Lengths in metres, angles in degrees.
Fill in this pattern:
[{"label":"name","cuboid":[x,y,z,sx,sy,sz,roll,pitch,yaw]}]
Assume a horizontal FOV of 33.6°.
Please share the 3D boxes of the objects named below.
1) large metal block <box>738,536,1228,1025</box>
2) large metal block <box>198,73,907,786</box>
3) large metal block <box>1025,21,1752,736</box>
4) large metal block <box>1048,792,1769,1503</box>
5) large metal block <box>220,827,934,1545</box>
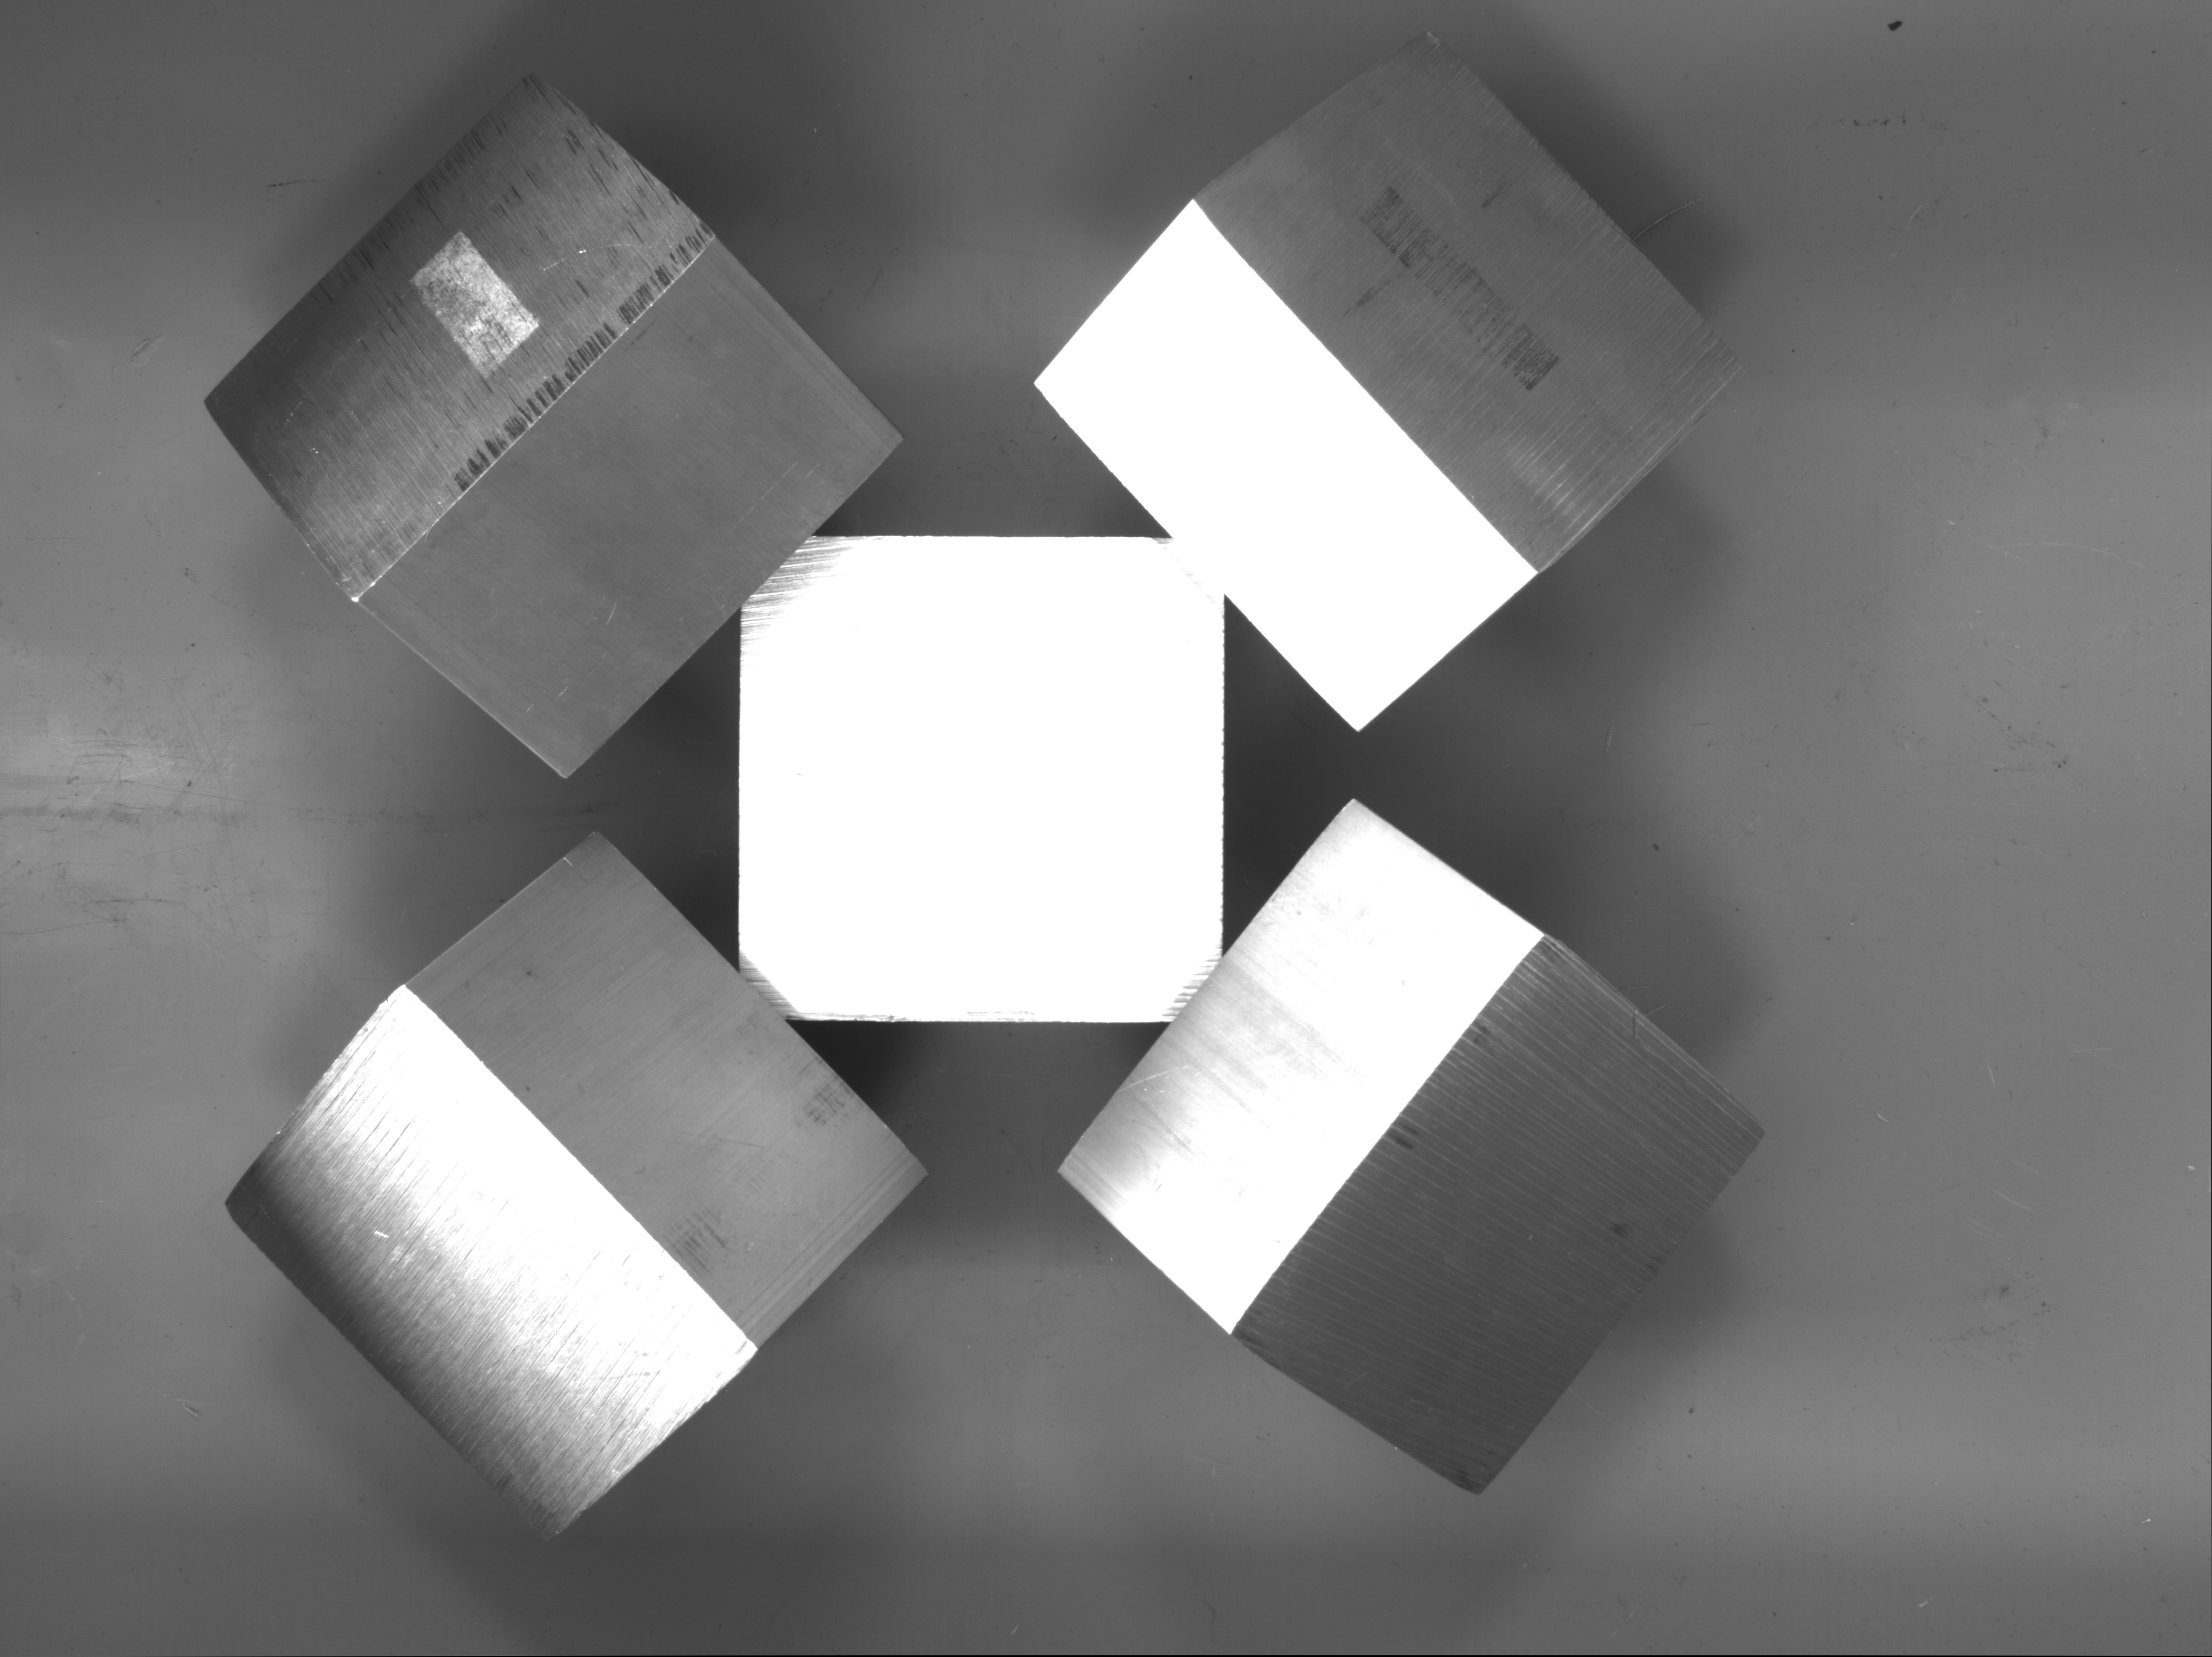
[{"label":"large metal block","cuboid":[-0.020,-0.008,0.631,0.080,0.050,0.080,1,90,0]},{"label":"large metal block","cuboid":[-0.093,-0.067,0.608,0.080,0.080,0.050,-46,133,0]},{"label":"large metal block","cuboid":[0.048,-0.076,0.611,0.080,0.050,0.080,47,47,1]},{"label":"large metal block","cuboid":[0.051,0.054,0.610,0.080,0.050,0.080,-52,135,-1]},{"label":"large metal block","cuboid":[-0.089,0.060,0.611,0.080,0.050,0.080,46,134,0]}]
